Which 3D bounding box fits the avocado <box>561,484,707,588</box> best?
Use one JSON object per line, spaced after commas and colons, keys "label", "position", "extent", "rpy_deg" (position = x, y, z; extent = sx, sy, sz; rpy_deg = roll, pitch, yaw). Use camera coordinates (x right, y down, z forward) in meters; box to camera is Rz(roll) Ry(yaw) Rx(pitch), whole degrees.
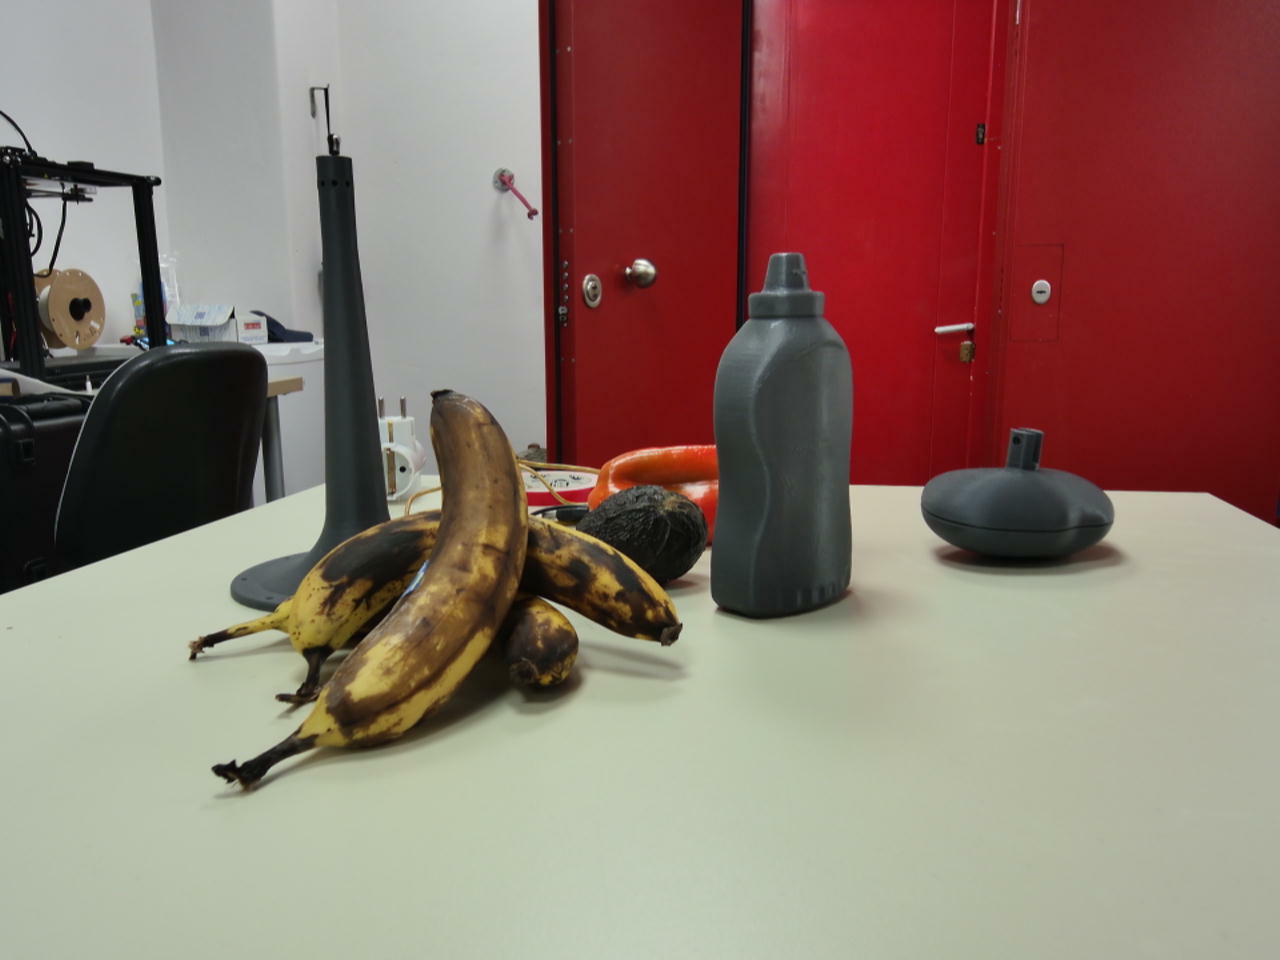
{"label": "avocado", "position": [-0.004, 0.034, 0.614], "extent": [0.092, 0.062, 0.062], "rpy_deg": [-2, 8, -12]}
